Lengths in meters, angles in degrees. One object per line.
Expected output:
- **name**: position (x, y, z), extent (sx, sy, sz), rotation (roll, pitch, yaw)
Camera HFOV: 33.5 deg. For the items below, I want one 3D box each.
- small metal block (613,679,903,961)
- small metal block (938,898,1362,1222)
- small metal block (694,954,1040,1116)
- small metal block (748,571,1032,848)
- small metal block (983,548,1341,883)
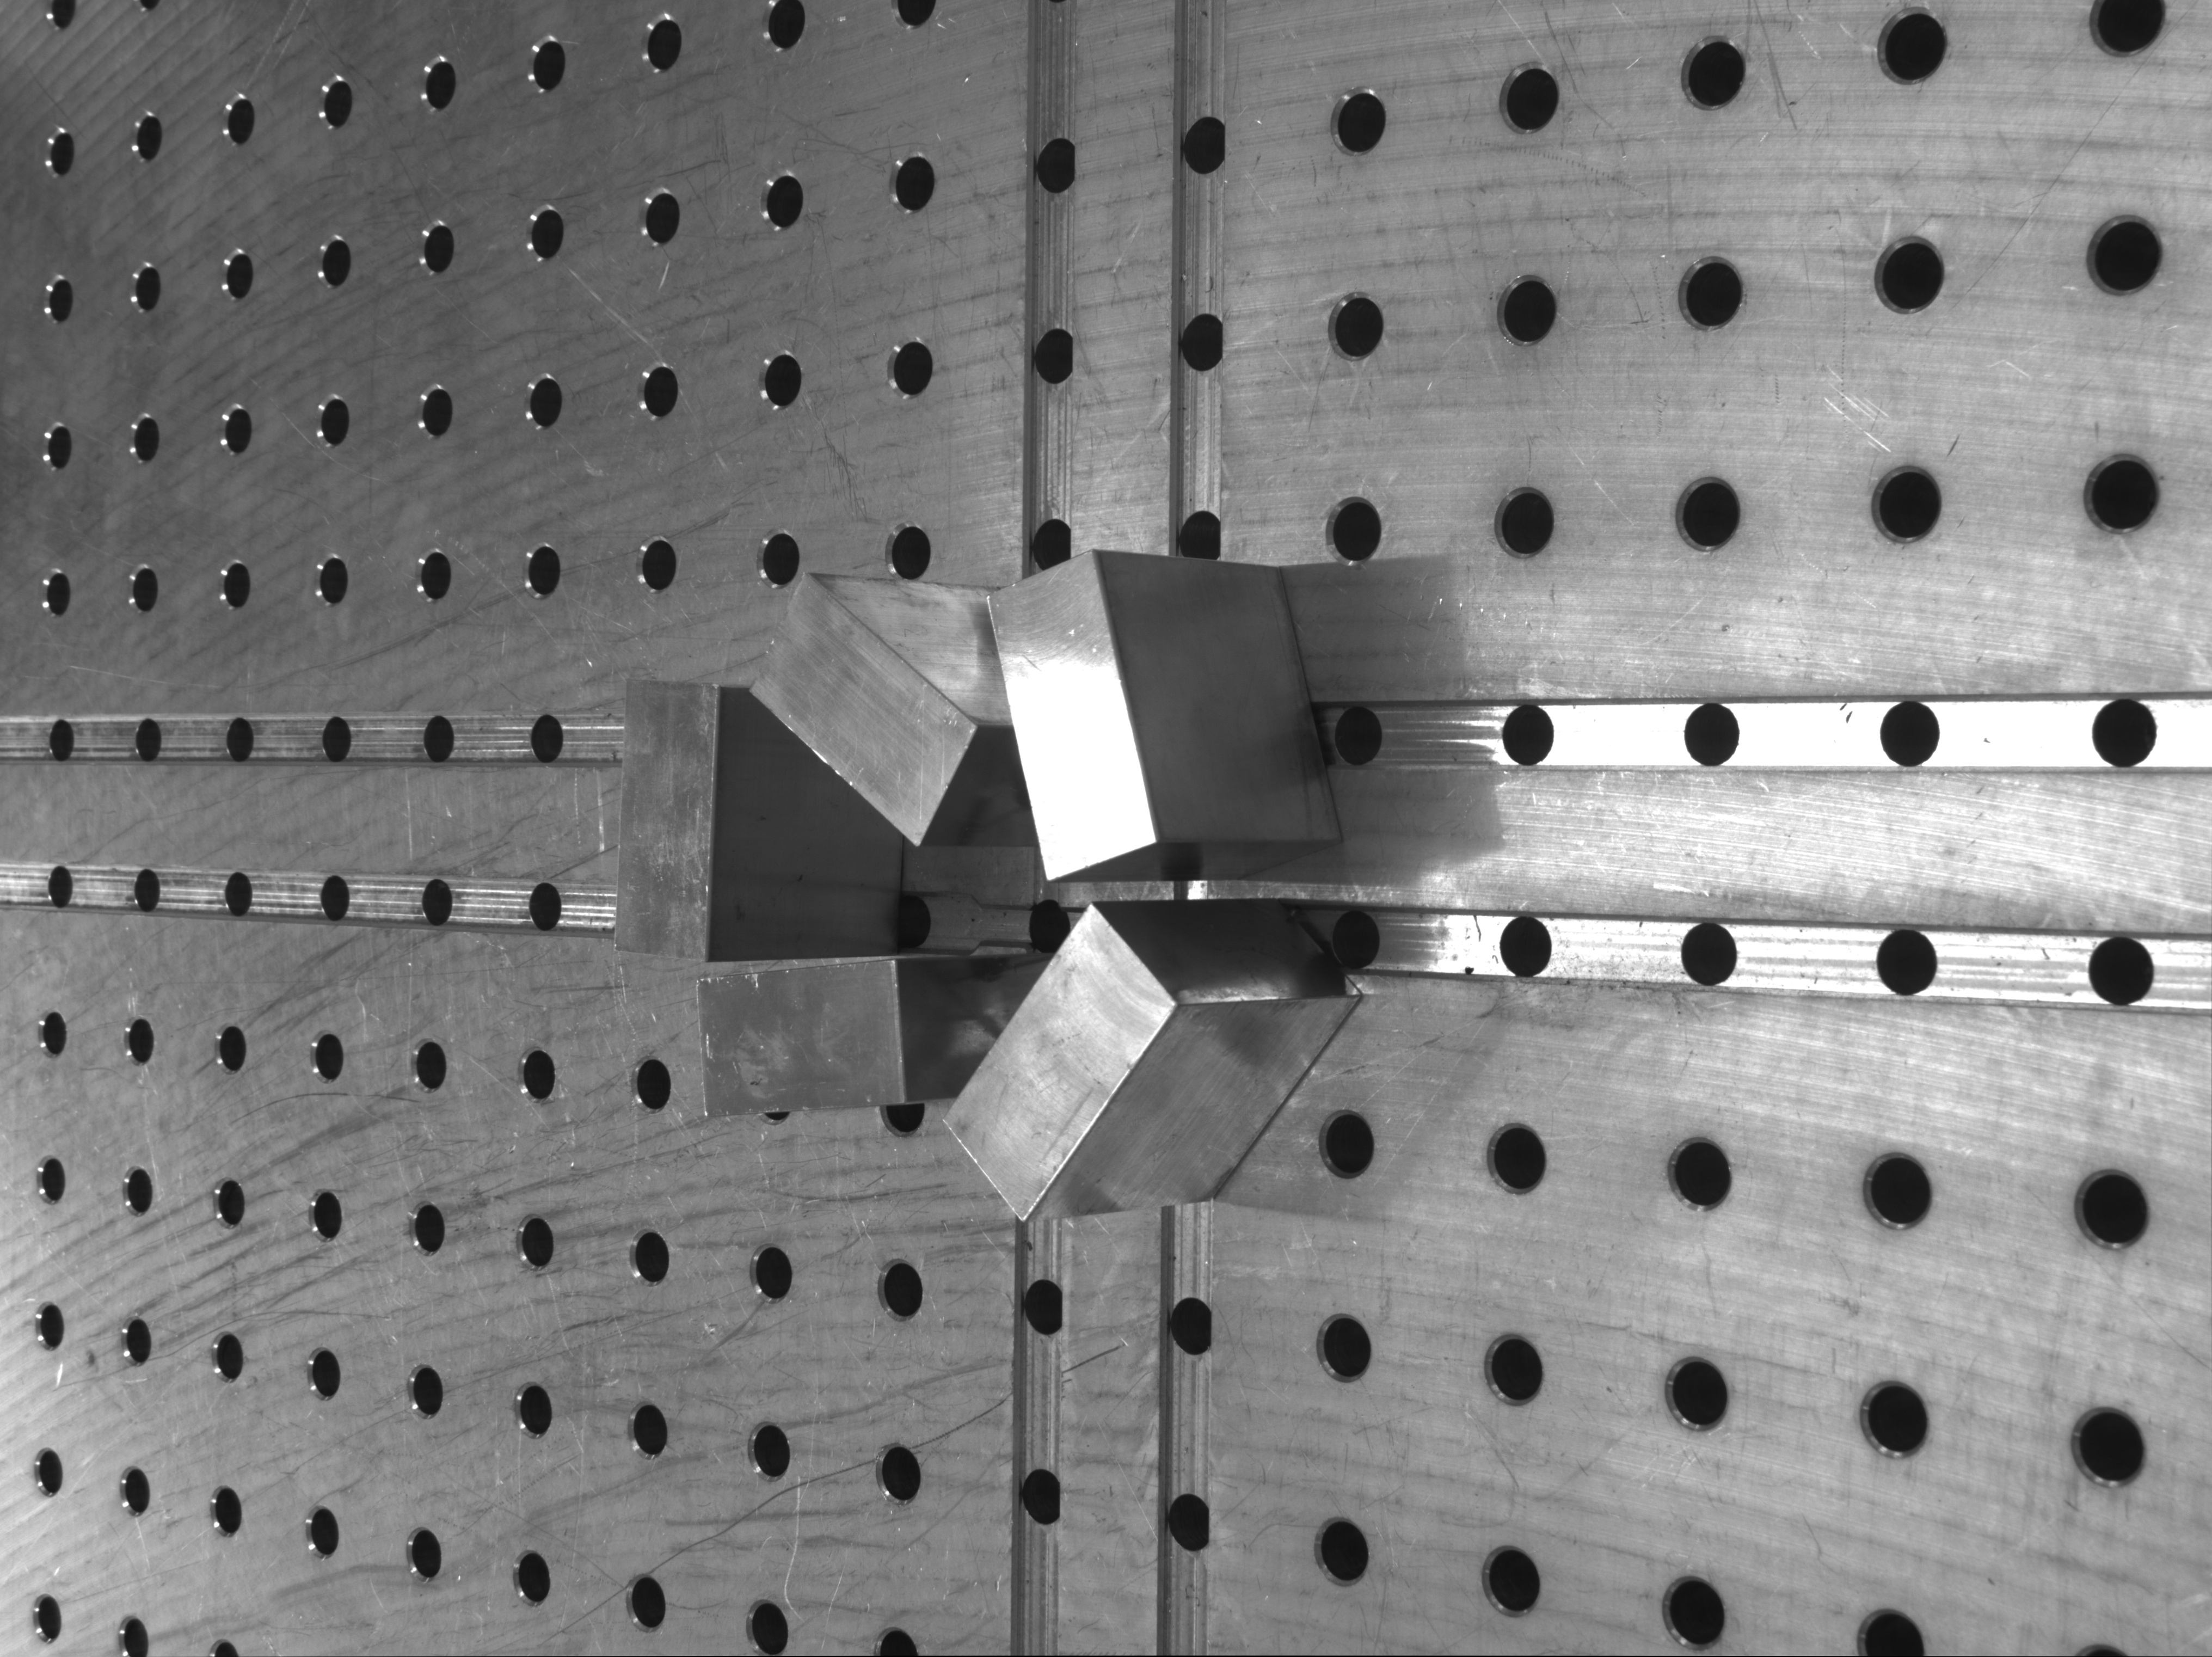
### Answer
- **small metal block**: position (-0.064, -0.002, 0.687), extent (0.025, 0.050, 0.050), rotation (4, 93, 40)
- **small metal block**: position (0.008, 0.039, 0.625), extent (0.025, 0.050, 0.050), rotation (50, 120, 30)
- **small metal block**: position (-0.038, 0.037, 0.664), extent (0.050, 0.050, 0.025), rotation (-7, 85, 40)
- **small metal block**: position (-0.026, -0.021, 0.655), extent (0.050, 0.050, 0.025), rotation (41, 116, 32)
- **small metal block**: position (0.010, -0.018, 0.624), extent (0.025, 0.050, 0.050), rotation (-21, 76, 38)
